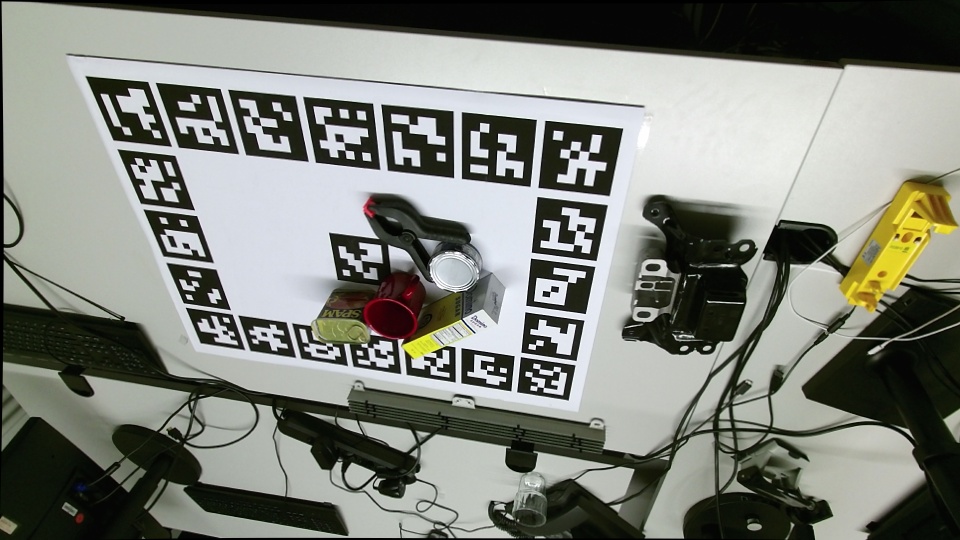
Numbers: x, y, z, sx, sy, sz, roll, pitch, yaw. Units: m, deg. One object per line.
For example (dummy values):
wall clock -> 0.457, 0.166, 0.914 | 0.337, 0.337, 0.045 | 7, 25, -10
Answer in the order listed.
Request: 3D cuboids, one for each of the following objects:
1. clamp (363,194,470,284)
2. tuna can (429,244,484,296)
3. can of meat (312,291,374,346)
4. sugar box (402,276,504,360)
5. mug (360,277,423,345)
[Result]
clamp -> -0.110, -0.060, 0.844 | 0.165, 0.036, 0.122 | 38, 128, -10
tuna can -> -0.037, -0.002, 0.863 | 0.086, 0.033, 0.086 | 5, 124, 8
can of meat -> -0.238, 0.083, 0.943 | 0.102, 0.083, 0.058 | 1, 126, 13
sugar box -> -0.047, 0.081, 0.895 | 0.177, 0.092, 0.045 | -26, 117, 28
mug -> -0.138, 0.059, 0.895 | 0.093, 0.081, 0.117 | 28, 124, -7
